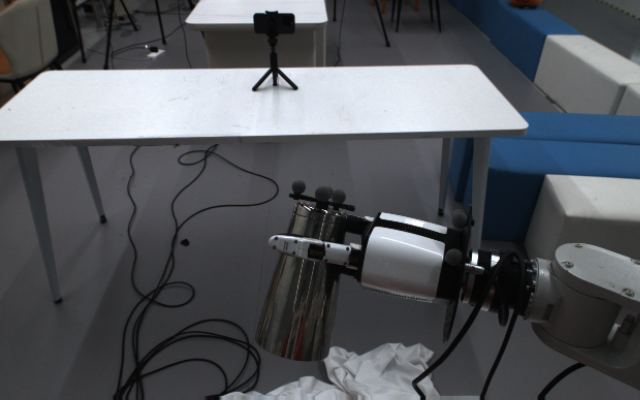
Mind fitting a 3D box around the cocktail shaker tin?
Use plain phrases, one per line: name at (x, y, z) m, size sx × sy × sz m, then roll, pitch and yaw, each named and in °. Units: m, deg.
cocktail shaker tin at (-0.014, 0.091, 0.586) m, size 0.093 × 0.170 × 0.093 m, roll 13°, pitch 3°, yaw -1°
